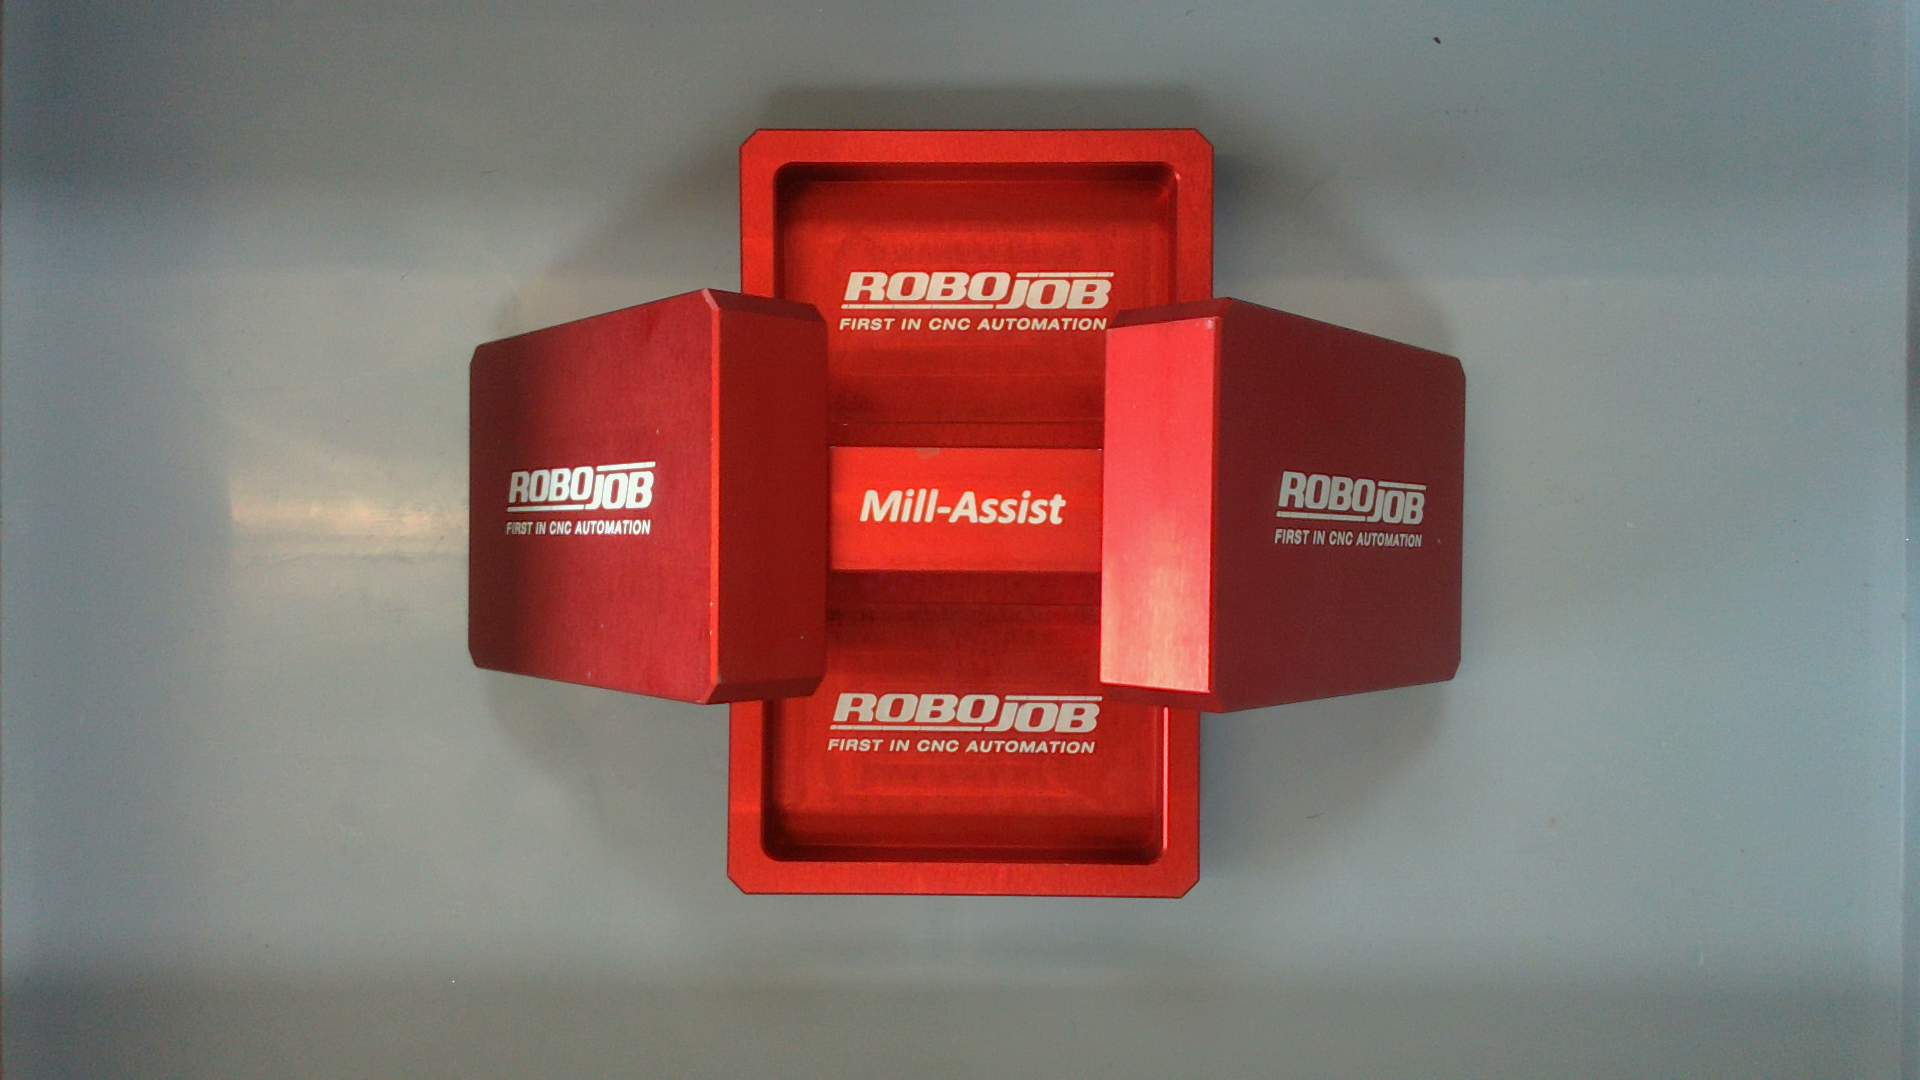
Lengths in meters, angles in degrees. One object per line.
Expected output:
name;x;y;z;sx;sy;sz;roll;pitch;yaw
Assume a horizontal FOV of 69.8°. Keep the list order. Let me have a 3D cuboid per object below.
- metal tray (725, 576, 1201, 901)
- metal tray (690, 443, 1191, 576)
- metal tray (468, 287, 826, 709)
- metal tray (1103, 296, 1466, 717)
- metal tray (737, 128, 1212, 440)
metal tray;0.001;0.054;0.390;0.130;0.030;0.090;0;90;-1
metal tray;0.000;-0.007;0.362;0.130;0.090;0.030;0;90;-1
metal tray;-0.084;-0.009;0.348;0.030;0.129;0.090;0;90;-42
metal tray;0.087;-0.007;0.348;0.030;0.131;0.090;1;90;42
metal tray;0.004;-0.068;0.391;0.130;0.030;0.090;0;91;-1
